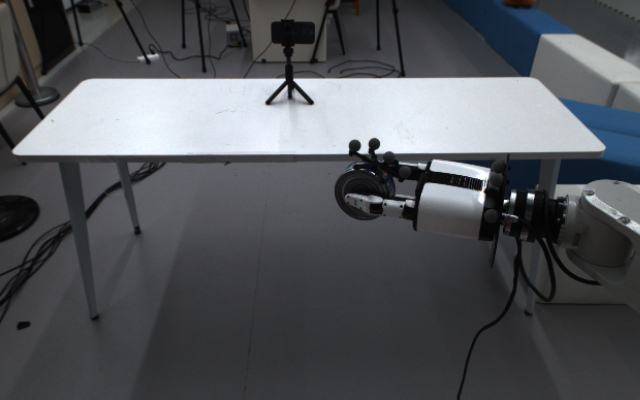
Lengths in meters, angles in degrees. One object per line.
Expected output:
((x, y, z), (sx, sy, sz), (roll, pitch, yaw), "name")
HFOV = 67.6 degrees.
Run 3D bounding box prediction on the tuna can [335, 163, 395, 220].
((0.069, -0.006, 0.711), (0.085, 0.085, 0.034), (15, 31, 18), "tuna can")
